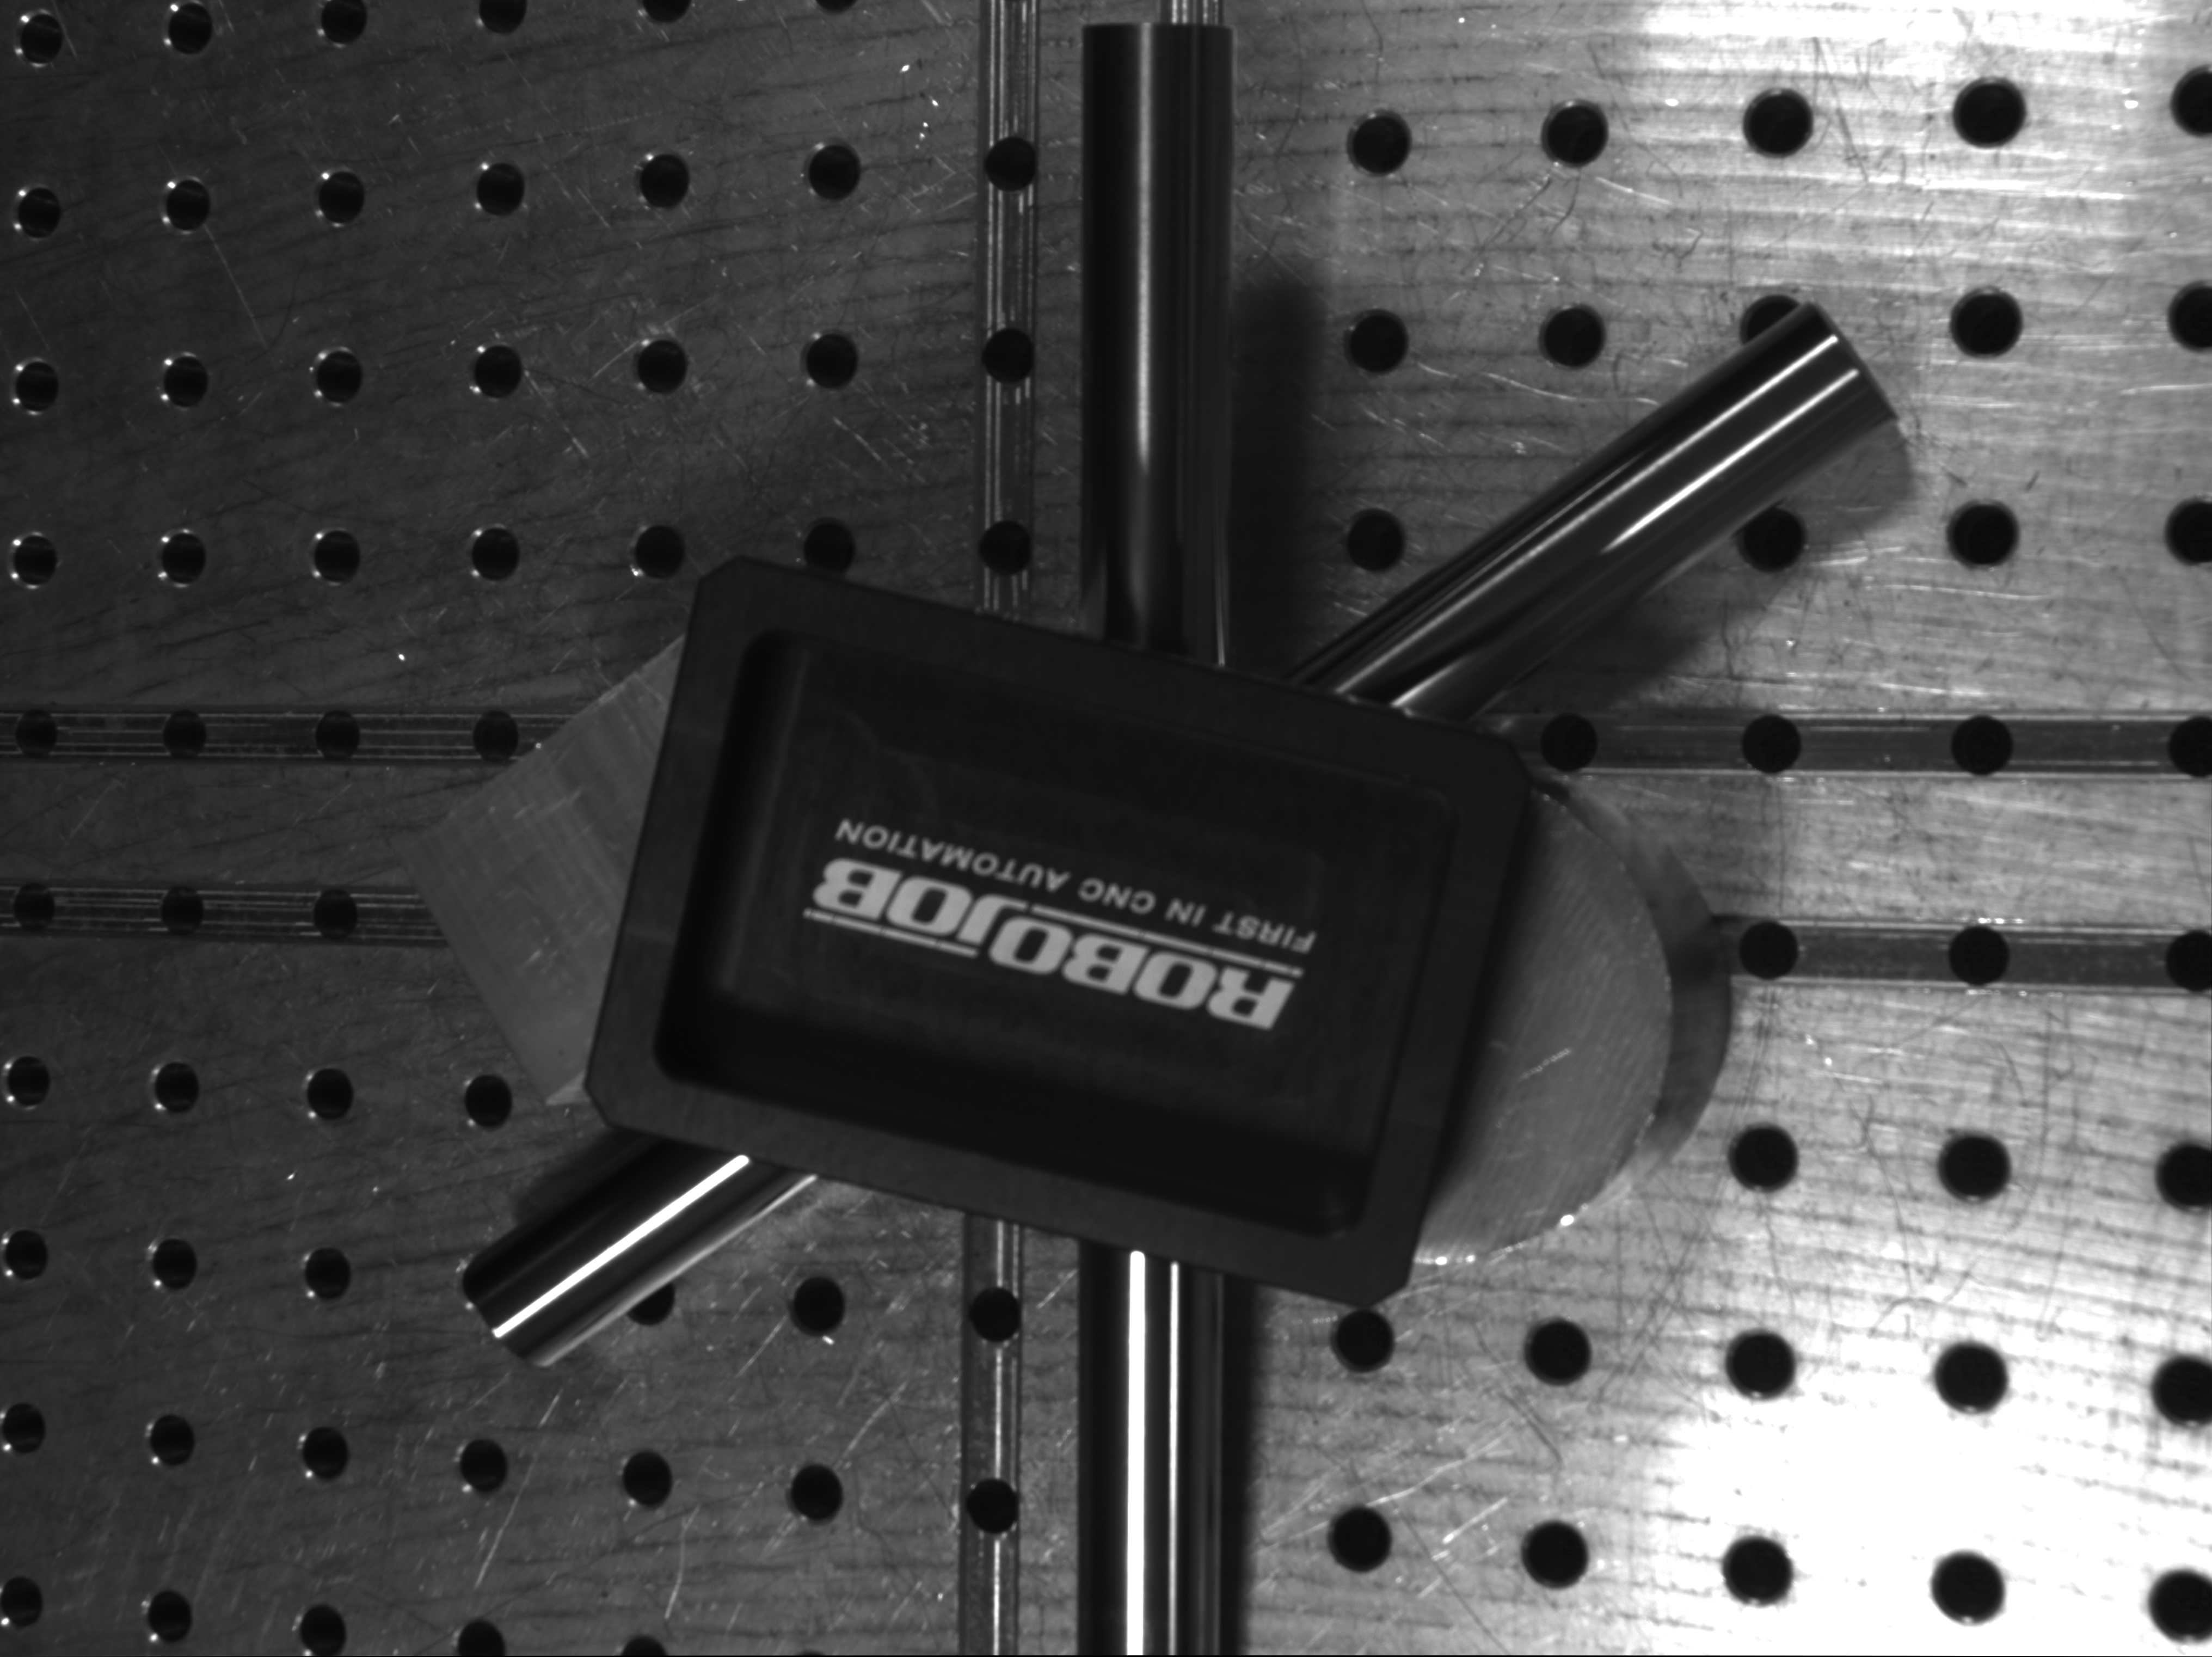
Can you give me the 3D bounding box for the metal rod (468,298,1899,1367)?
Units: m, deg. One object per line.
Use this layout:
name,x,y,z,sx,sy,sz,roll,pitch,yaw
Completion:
metal rod,0.006,0.006,0.645,0.300,0.025,0.025,-36,79,16

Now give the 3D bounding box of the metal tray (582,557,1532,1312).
metal tray,-0.008,0.015,0.572,0.130,0.030,0.090,13,95,1

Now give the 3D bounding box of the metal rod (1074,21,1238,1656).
metal rod,0.008,0.017,0.620,0.025,0.025,0.300,4,100,20

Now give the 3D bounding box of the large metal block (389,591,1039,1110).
large metal block,-0.063,0.004,0.639,0.080,0.080,0.050,-36,78,16

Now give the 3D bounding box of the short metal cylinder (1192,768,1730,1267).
short metal cylinder,0.060,0.030,0.611,0.080,0.050,0.080,0,90,20
